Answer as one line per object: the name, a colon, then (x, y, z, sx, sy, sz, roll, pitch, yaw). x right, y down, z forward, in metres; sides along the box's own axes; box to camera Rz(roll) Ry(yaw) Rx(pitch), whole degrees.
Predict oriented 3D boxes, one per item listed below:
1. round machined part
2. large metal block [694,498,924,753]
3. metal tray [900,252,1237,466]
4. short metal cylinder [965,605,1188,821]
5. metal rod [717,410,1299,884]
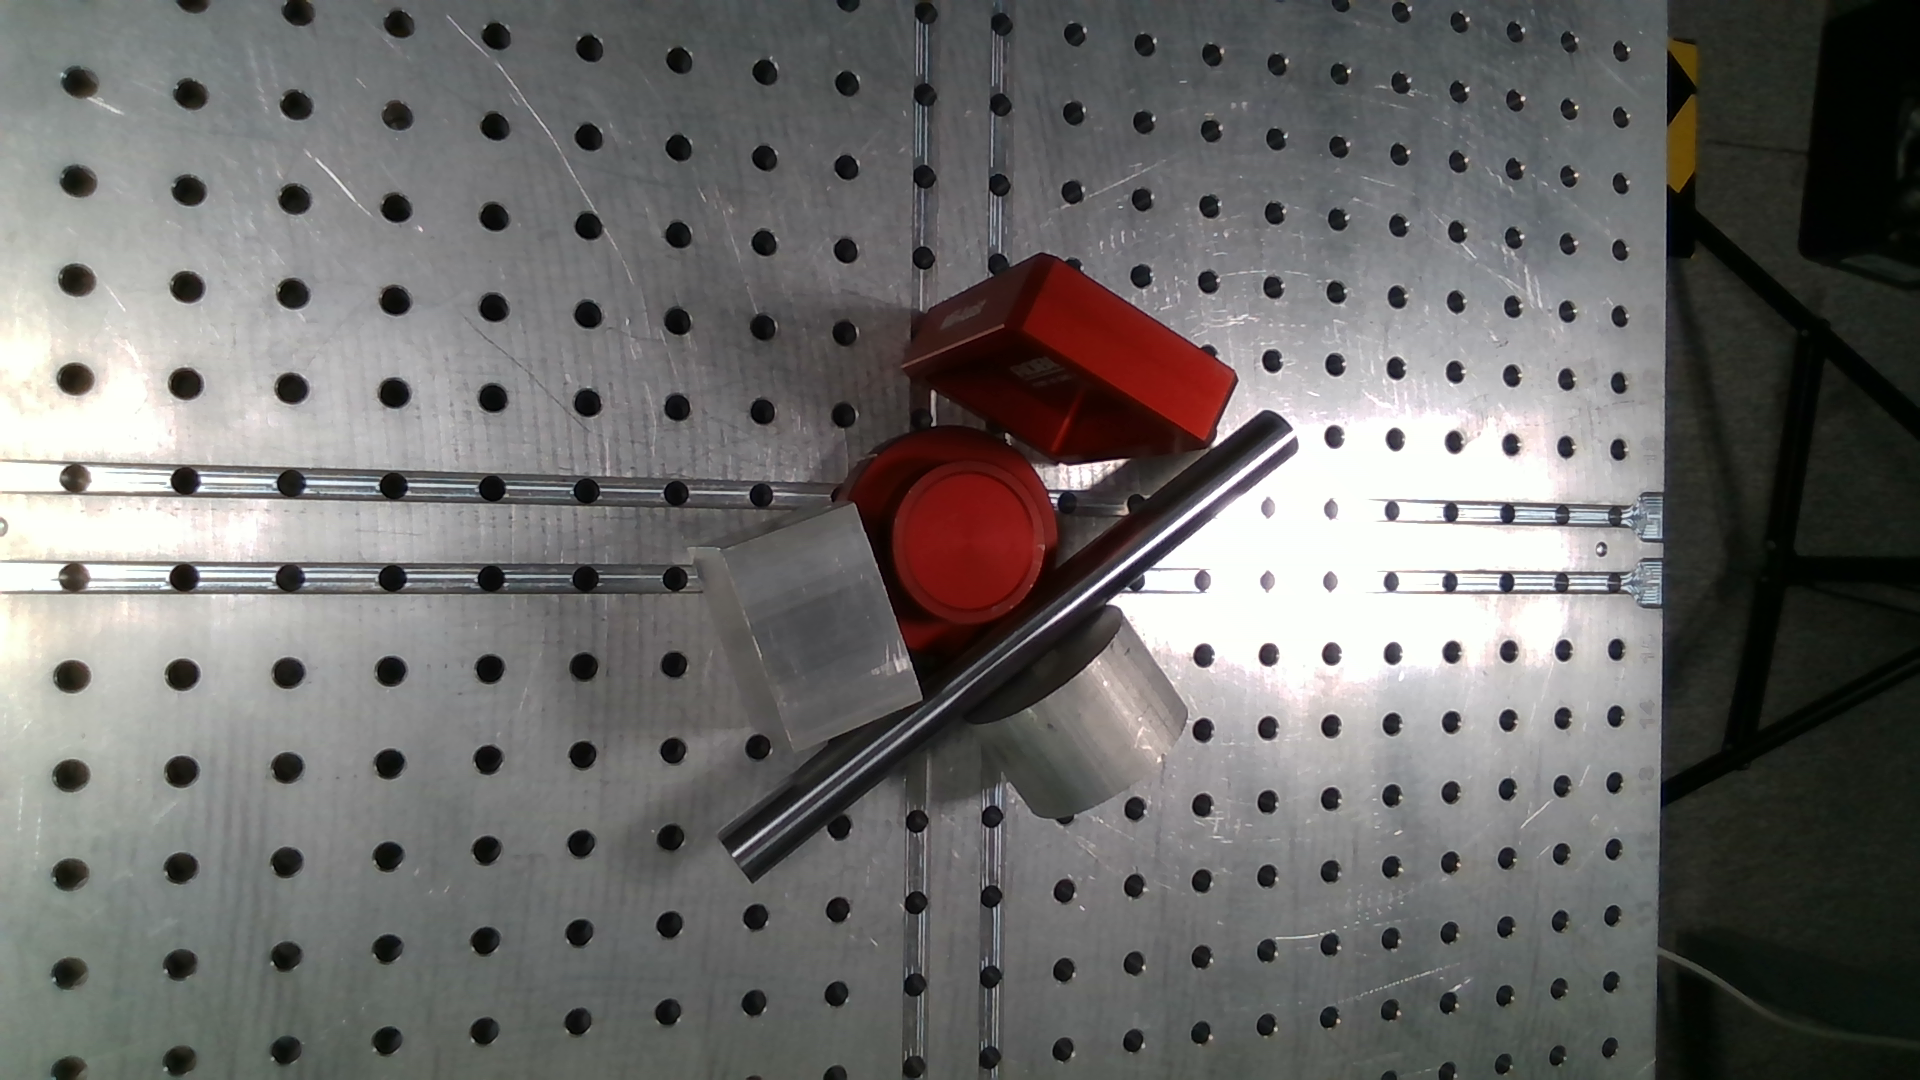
round machined part: (-0.004, 0.000, 0.578, 0.098, 0.042, 0.098, 0, 90, -20)
large metal block: (-0.062, 0.031, 0.536, 0.050, 0.080, 0.080, -21, 97, -19)
metal tray: (0.038, -0.067, 0.547, 0.090, 0.130, 0.030, 29, 80, -18)
short metal cylinder: (0.048, 0.072, 0.576, 0.080, 0.080, 0.050, -39, 103, -16)
metal rod: (0.028, 0.038, 0.576, 0.300, 0.025, 0.025, -37, 102, -16)
